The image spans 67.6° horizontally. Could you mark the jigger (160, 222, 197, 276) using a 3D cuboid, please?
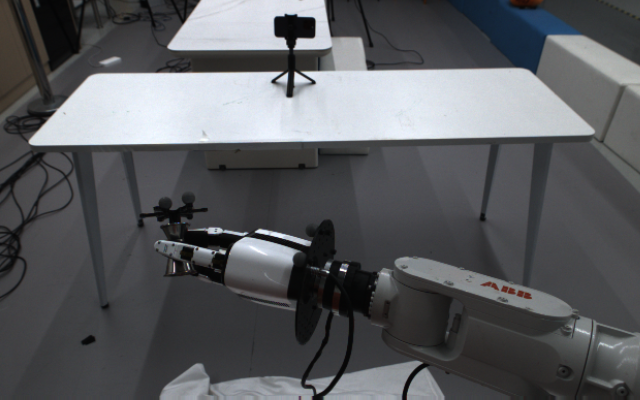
[{"bbox_3d":[-0.190,0.068,0.654,0.043,0.043,0.071,-7,79,-13],"label":"jigger"}]
